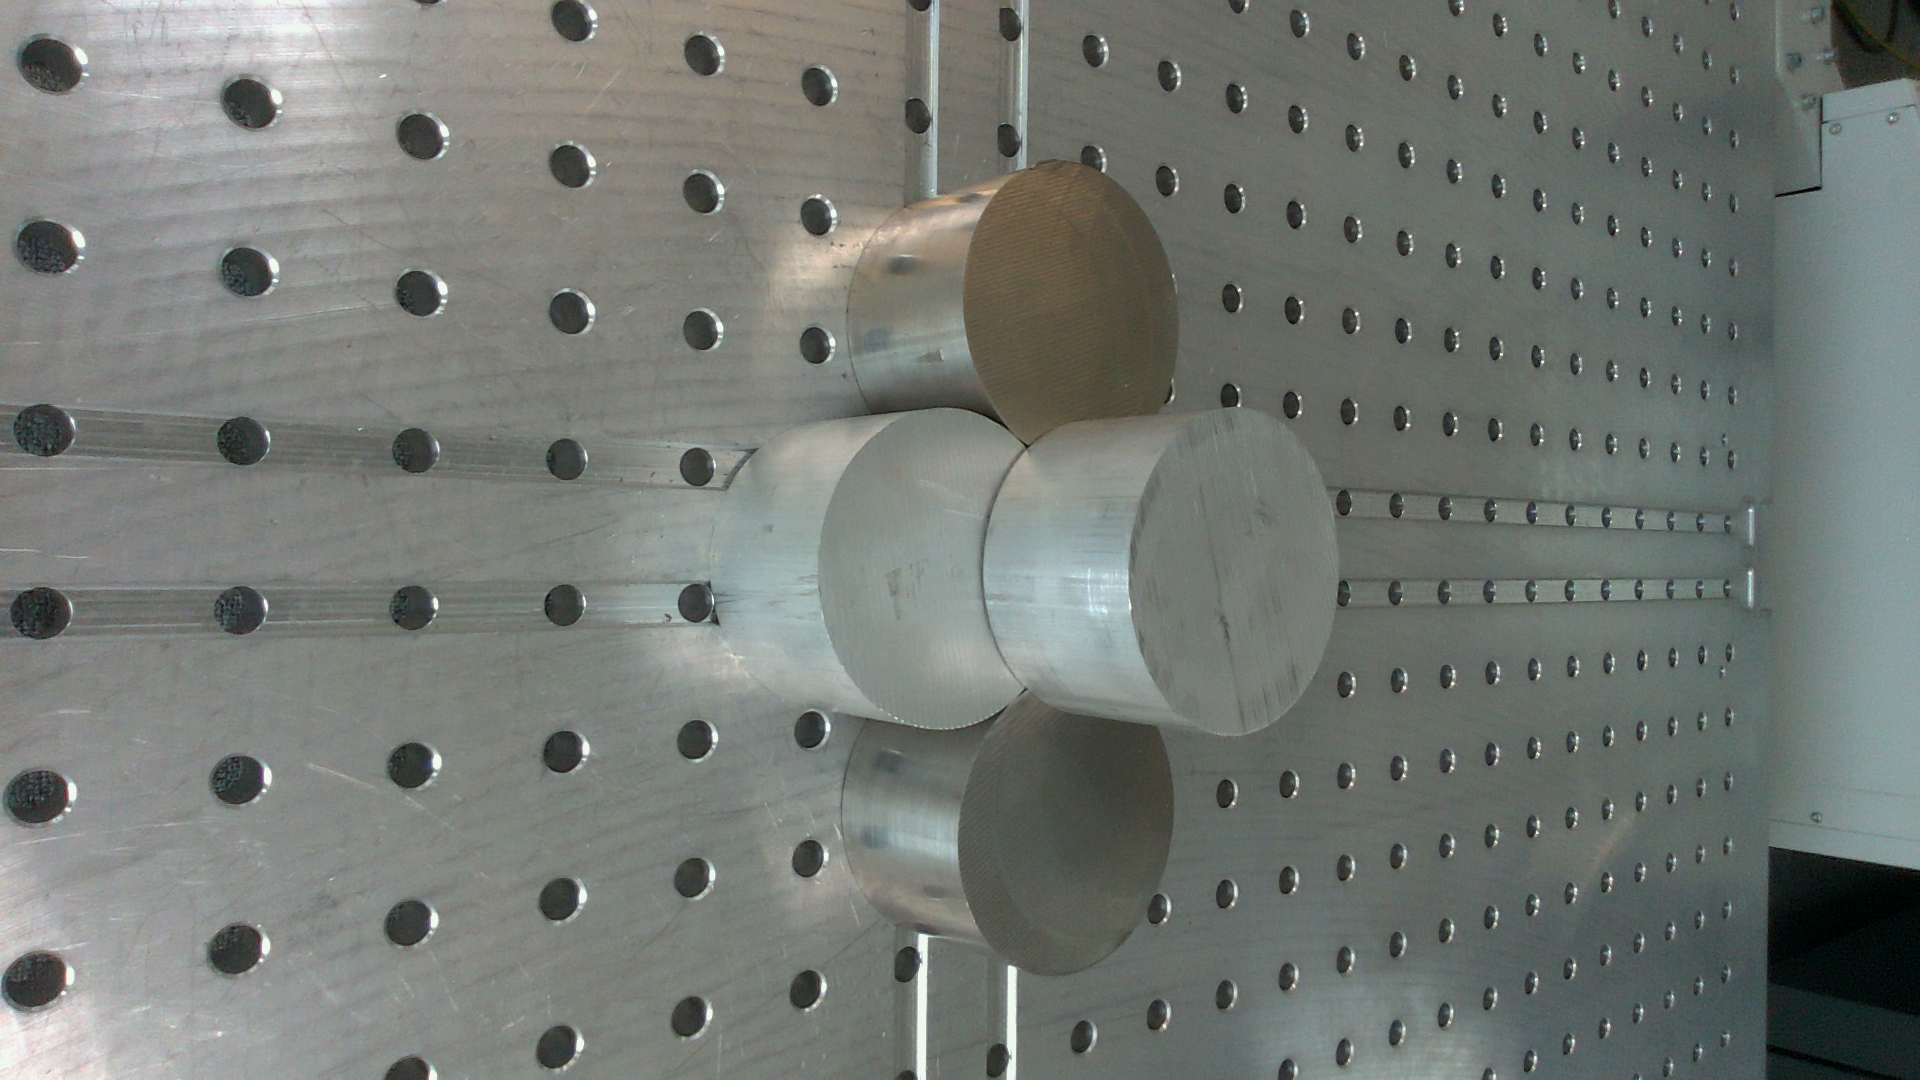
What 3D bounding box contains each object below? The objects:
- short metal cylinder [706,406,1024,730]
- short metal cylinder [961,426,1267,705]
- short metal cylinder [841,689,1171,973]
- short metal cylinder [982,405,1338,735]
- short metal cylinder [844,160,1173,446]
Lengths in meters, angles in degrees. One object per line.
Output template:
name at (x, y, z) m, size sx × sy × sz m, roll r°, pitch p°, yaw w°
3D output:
short metal cylinder at (-0.019, 0.007, 0.360) m, size 0.080 × 0.050 × 0.080 m, roll 0°, pitch 90°, yaw -40°
short metal cylinder at (0.047, 0.007, 0.414) m, size 0.080 × 0.050 × 0.080 m, roll 0°, pitch 90°, yaw -40°
short metal cylinder at (0.014, 0.076, 0.387) m, size 0.080 × 0.050 × 0.080 m, roll 2°, pitch 86°, yaw -40°
short metal cylinder at (0.052, 0.007, 0.354) m, size 0.080 × 0.050 × 0.080 m, roll 0°, pitch 90°, yaw -40°
short metal cylinder at (0.014, -0.061, 0.388) m, size 0.080 × 0.050 × 0.080 m, roll 0°, pitch 90°, yaw -41°
